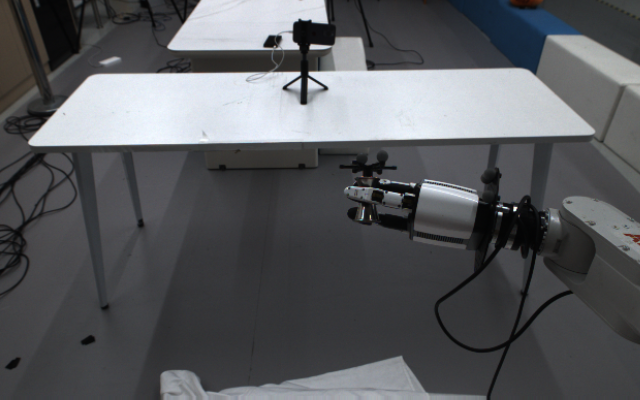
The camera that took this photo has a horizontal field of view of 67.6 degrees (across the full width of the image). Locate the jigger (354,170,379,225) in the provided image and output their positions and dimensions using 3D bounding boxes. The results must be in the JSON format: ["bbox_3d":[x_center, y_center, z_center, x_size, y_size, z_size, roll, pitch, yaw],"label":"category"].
[{"bbox_3d":[0.071,-0.002,0.749,0.043,0.071,0.043,2,-6,0],"label":"jigger"}]
